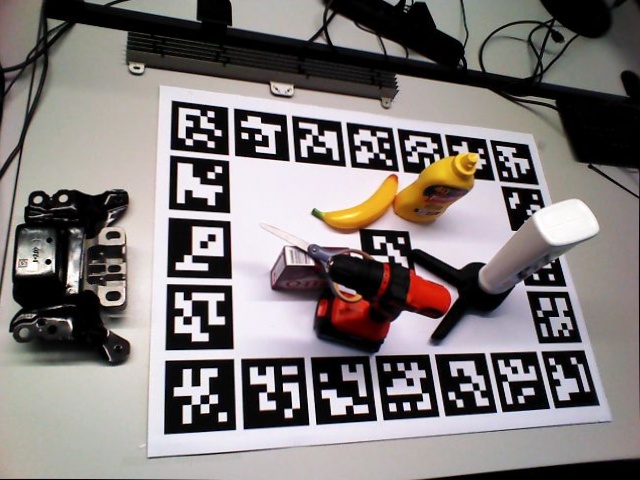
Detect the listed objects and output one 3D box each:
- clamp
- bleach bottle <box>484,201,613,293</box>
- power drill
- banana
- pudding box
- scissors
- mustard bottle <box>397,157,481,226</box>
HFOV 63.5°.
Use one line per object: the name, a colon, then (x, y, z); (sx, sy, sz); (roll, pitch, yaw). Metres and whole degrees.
clamp: (0.280, 0.081, 0.919); (0.202, 0.037, 0.165); (-2, 71, -22)
bleach bottle: (0.346, 0.029, 0.844); (0.102, 0.252, 0.068); (-17, 70, -18)
power drill: (0.071, 0.092, 0.736); (0.184, 0.188, 0.057); (15, 57, -10)
banana: (0.095, -0.084, 0.932); (0.074, 0.039, 0.196); (41, 60, 20)
pudding box: (-0.015, 0.040, 0.816); (0.114, 0.090, 0.038); (8, 59, -17)
scissors: (-0.003, 0.008, 0.760); (0.203, 0.016, 0.087); (29, 65, -12)
mustard bottle: (0.219, -0.089, 0.903); (0.096, 0.193, 0.058); (17, 63, -14)
